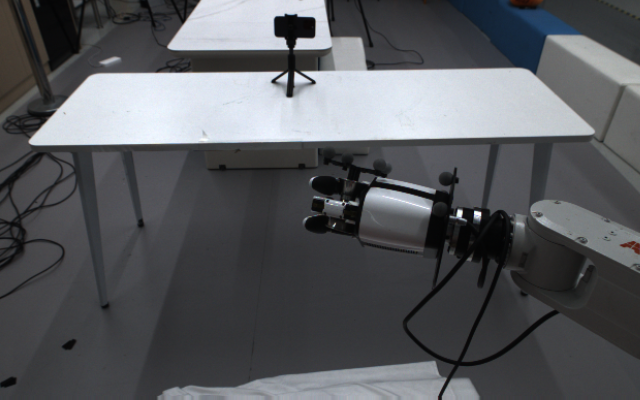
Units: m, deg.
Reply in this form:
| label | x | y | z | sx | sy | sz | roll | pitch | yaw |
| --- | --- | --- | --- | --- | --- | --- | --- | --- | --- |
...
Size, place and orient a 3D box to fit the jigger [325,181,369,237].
| label | x | y | z | sx | sy | sz | roll | pitch | yaw |
| --- | --- | --- | --- | --- | --- | --- | --- | --- | --- |
| jigger | 0.039 | 0.006 | 0.648 | 0.043 | 0.071 | 0.043 | 14 | 1 | 0 |
